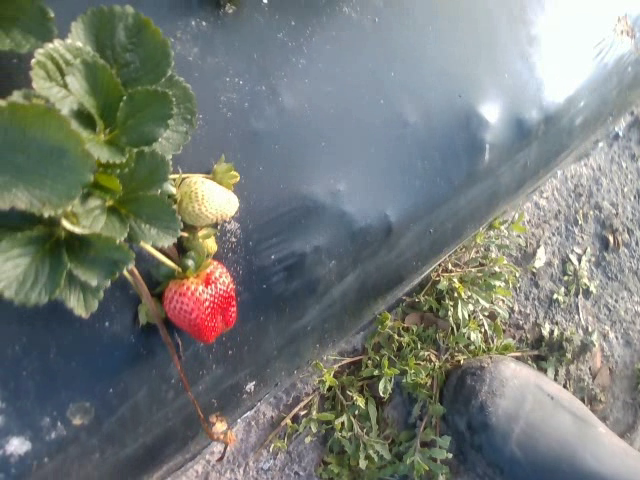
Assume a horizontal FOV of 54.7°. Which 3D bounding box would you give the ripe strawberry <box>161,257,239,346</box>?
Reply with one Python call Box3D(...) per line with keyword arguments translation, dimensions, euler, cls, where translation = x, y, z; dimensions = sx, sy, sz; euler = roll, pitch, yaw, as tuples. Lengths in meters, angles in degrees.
Box3D(translation=(-0.066, 0.041, 0.368), dimensions=(0.047, 0.050, 0.034), euler=(-32, 26, -24), cls="ripe strawberry")
